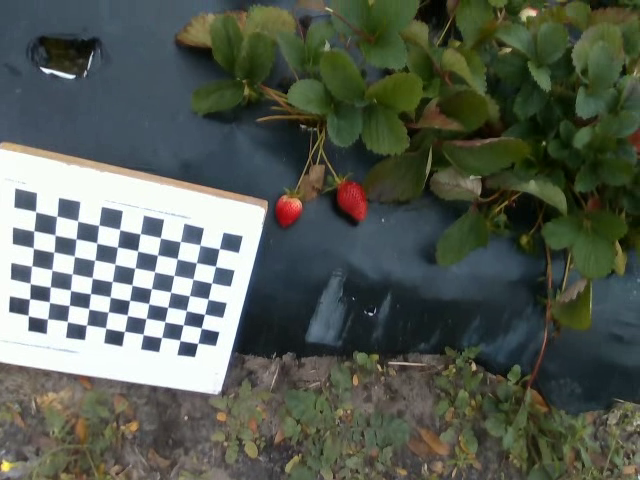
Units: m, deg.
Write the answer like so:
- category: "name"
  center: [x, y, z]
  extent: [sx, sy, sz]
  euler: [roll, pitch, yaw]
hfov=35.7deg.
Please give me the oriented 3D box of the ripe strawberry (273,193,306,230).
- category: "ripe strawberry"
  center: [-0.028, -0.035, 1.192]
  extent: [0.036, 0.041, 0.027]
  euler: [15, 4, -9]

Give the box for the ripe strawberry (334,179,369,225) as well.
- category: "ripe strawberry"
  center: [0.047, -0.049, 1.216]
  extent: [0.044, 0.059, 0.042]
  euler: [-26, 7, 13]
